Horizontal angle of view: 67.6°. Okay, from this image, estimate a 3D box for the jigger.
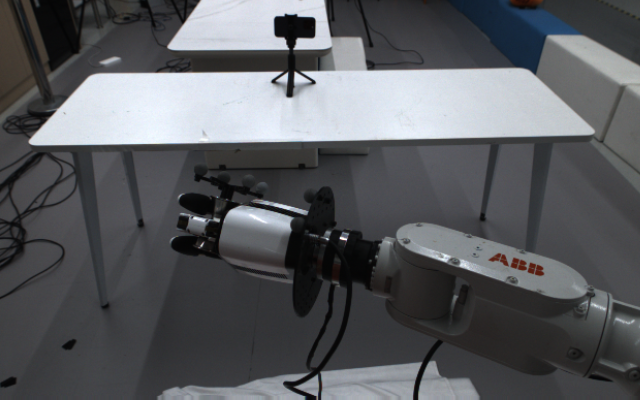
[{"bbox_3d":[-0.126,0.032,0.614,0.043,0.071,0.043,15,-7,2],"label":"jigger"}]
